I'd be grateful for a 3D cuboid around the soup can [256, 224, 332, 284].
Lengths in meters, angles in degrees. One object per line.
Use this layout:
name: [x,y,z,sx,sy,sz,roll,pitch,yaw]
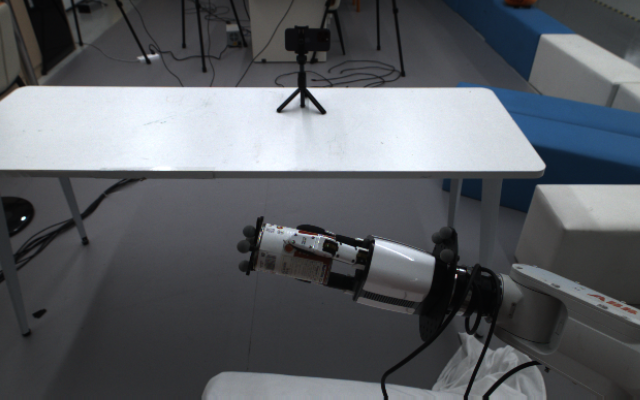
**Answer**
soup can: [-0.032,0.074,0.662,0.101,0.067,0.067,12,35,-1]
